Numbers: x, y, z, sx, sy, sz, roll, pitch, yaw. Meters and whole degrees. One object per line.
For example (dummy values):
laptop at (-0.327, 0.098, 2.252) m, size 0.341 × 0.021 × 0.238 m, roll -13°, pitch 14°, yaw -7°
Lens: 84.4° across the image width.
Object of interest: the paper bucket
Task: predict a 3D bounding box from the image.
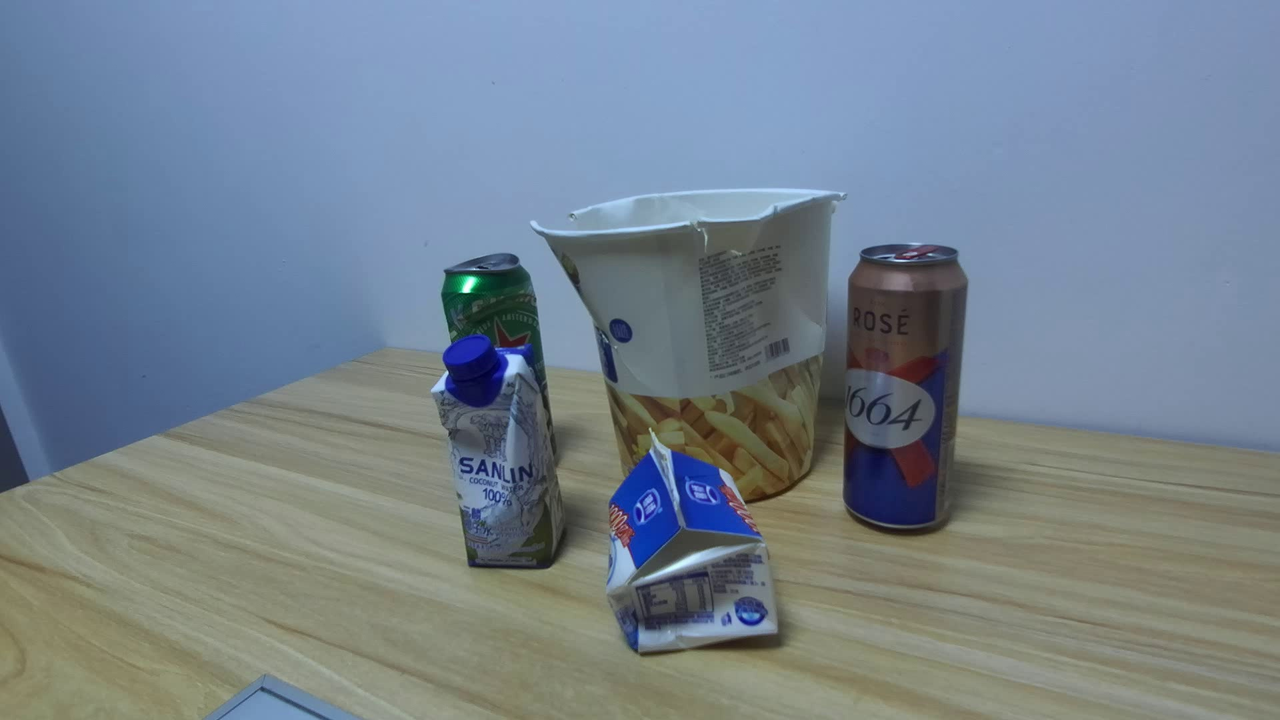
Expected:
paper bucket at (0.047, -0.016, 0.510) m, size 0.145 × 0.197 × 0.203 m, roll 9°, pitch 22°, yaw 38°

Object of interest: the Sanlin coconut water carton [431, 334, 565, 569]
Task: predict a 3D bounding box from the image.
Sanlin coconut water carton at (-0.084, 0.052, 0.427) m, size 0.060 × 0.144 × 0.070 m, roll -2°, pitch 19°, yaw 11°

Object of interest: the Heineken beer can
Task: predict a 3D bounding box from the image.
Heineken beer can at (-0.102, 0.007, 0.534) m, size 0.078 × 0.164 × 0.066 m, roll -14°, pitch 16°, yaw -21°

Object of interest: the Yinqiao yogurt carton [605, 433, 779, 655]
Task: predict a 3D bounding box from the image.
Yinqiao yogurt carton at (0.018, 0.090, 0.357) m, size 0.080 × 0.097 × 0.074 m, roll -14°, pitch 20°, yaw -2°
